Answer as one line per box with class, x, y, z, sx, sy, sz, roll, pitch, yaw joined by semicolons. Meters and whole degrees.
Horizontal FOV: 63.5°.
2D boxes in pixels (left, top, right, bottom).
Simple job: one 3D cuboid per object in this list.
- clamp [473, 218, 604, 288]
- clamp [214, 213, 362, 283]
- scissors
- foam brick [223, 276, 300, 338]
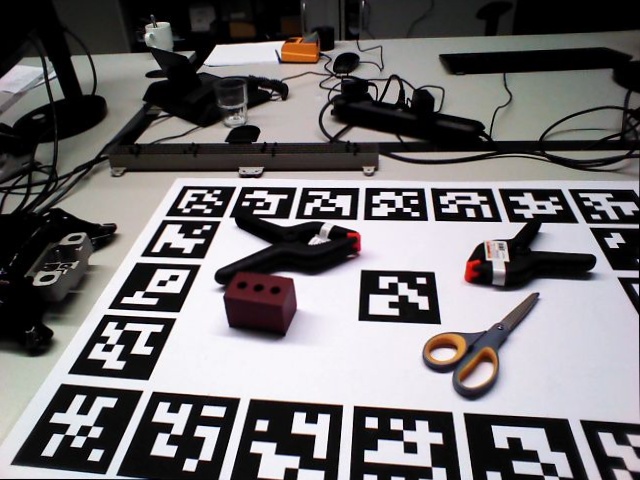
clamp;0.284;0.024;0.710;0.165;0.037;0.121;-16;46;-14
clamp;-0.040;0.006;0.757;0.203;0.037;0.164;0;34;4
scissors;0.205;0.112;0.606;0.201;0.016;0.088;-31;52;-33
foam brick;-0.073;0.084;0.649;0.078;0.051;0.052;3;39;16
